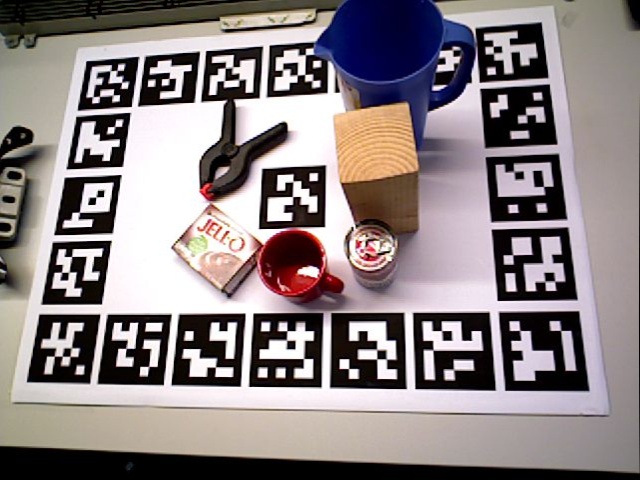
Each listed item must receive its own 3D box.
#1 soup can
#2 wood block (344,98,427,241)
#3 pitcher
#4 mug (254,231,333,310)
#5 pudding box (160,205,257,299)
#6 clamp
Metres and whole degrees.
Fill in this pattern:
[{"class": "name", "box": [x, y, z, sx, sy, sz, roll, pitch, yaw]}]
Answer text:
[{"class": "soup can", "box": [0.066, 0.028, 0.704, 0.068, 0.103, 0.067, -3, 72, 8]}, {"class": "wood block", "box": [0.079, -0.075, 0.680, 0.090, 0.208, 0.090, -2, 69, 4]}, {"class": "pitcher", "box": [0.105, -0.195, 0.699, 0.189, 0.244, 0.132, -2, 68, 11]}, {"class": "mug", "box": [-0.025, 0.052, 0.724, 0.117, 0.082, 0.092, 35, 77, 20]}, {"class": "pudding box", "box": [-0.160, 0.018, 0.786, 0.114, 0.039, 0.089, 37, 84, 20]}, {"class": "clamp", "box": [-0.132, -0.132, 0.837, 0.122, 0.037, 0.164, 29, 79, 10]}]
